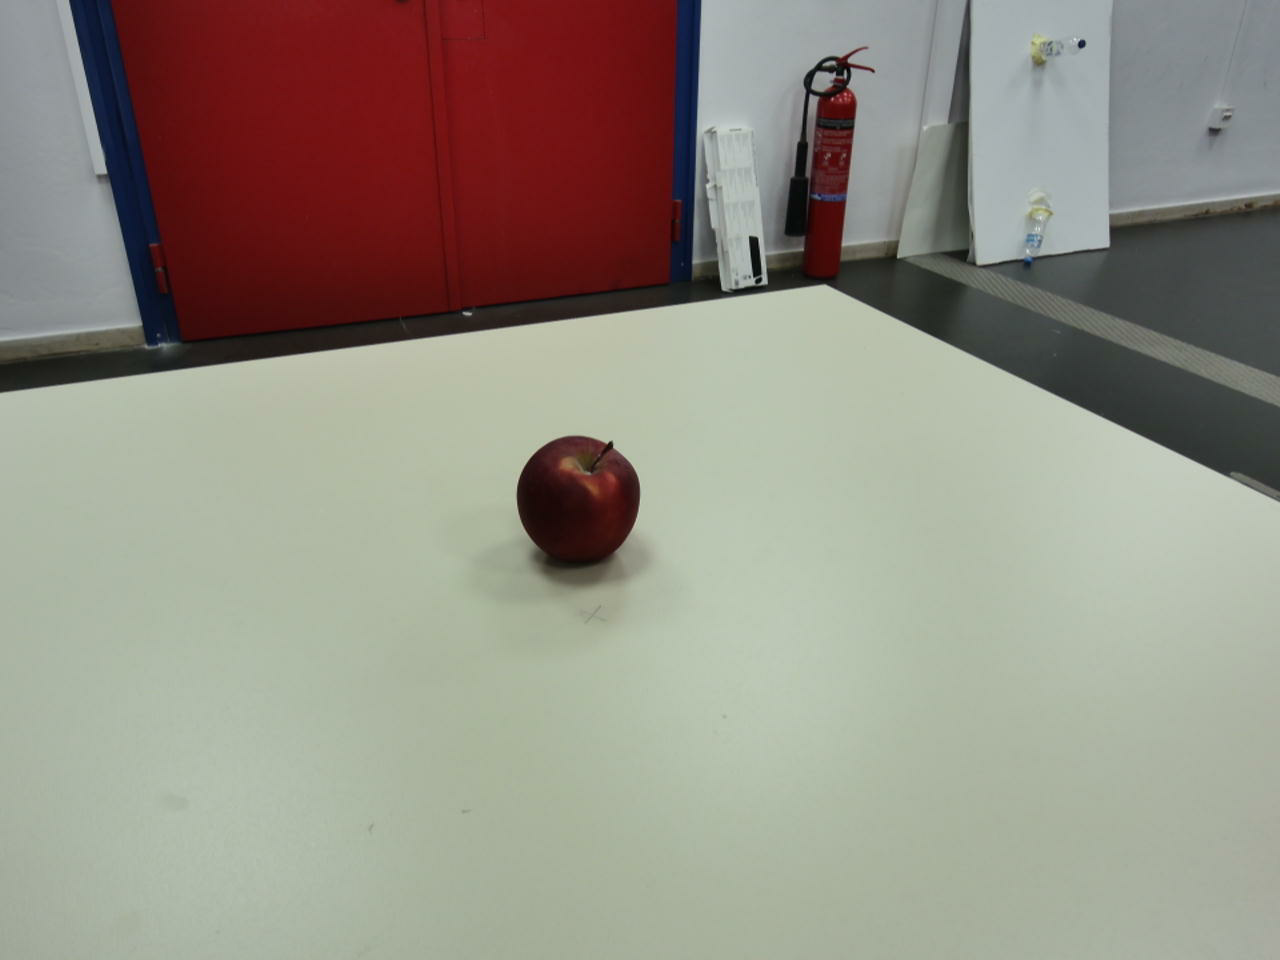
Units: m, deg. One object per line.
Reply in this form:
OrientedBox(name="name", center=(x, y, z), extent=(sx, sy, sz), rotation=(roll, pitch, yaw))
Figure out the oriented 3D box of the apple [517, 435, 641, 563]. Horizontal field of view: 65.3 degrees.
OrientedBox(name="apple", center=(-0.034, 0.011, 0.561), extent=(0.070, 0.072, 0.070), rotation=(0, 26, 0))
